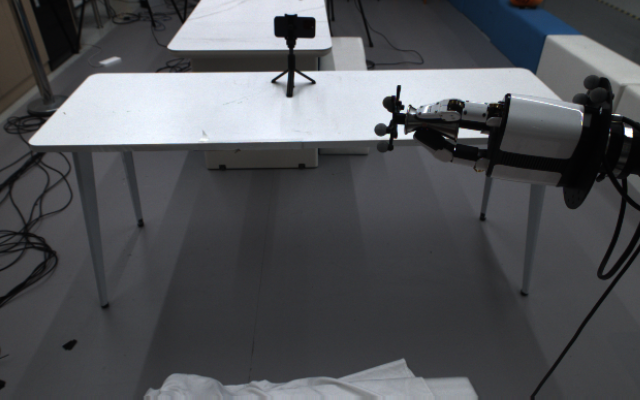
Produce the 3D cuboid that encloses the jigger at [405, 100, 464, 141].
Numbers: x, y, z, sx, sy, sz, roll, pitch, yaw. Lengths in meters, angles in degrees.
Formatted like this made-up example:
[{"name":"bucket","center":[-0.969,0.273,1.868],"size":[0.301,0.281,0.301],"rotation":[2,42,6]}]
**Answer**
[{"name":"jigger","center":[0.155,-0.106,0.638],"size":[0.071,0.043,0.043],"rotation":[10,35,16]}]
